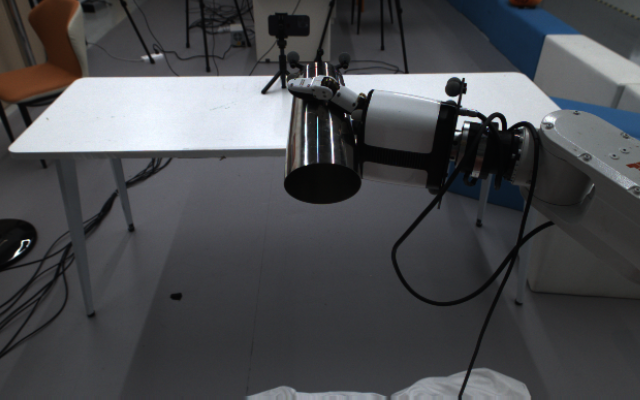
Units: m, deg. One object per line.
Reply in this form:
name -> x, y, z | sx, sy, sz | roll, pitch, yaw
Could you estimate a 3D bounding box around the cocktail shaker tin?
cocktail shaker tin -> 0.000, -0.091, 0.610 | 0.093, 0.093, 0.170 | 0, 59, -3
